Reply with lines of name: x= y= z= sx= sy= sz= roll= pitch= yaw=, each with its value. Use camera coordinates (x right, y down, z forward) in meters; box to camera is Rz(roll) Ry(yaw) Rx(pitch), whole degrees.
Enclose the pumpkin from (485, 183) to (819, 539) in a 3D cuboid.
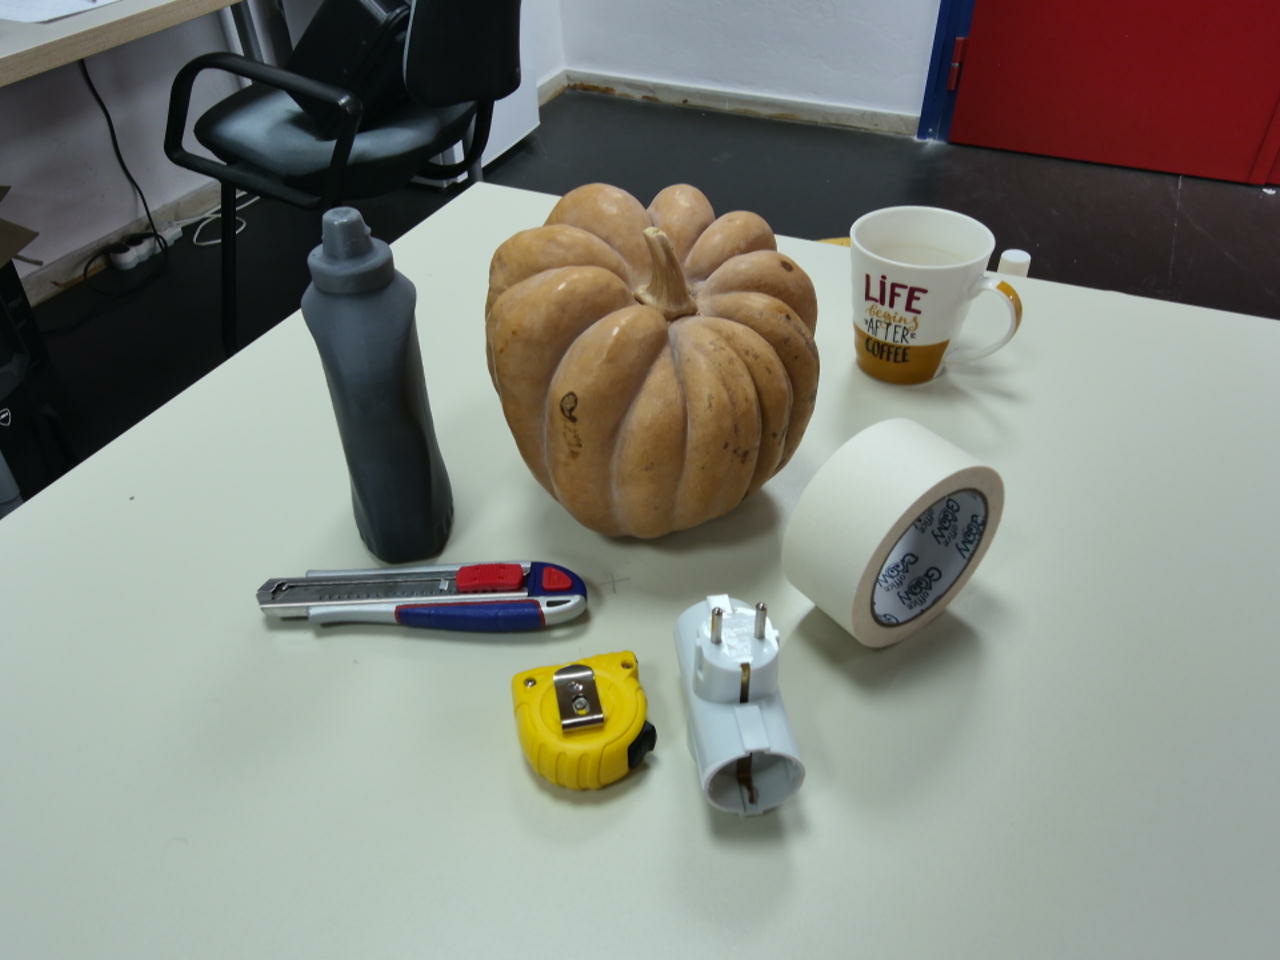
pumpkin: x=0.005 y=-0.066 z=0.568 sx=0.199 sy=0.177 sz=0.198 roll=0 pitch=38 yaw=0
